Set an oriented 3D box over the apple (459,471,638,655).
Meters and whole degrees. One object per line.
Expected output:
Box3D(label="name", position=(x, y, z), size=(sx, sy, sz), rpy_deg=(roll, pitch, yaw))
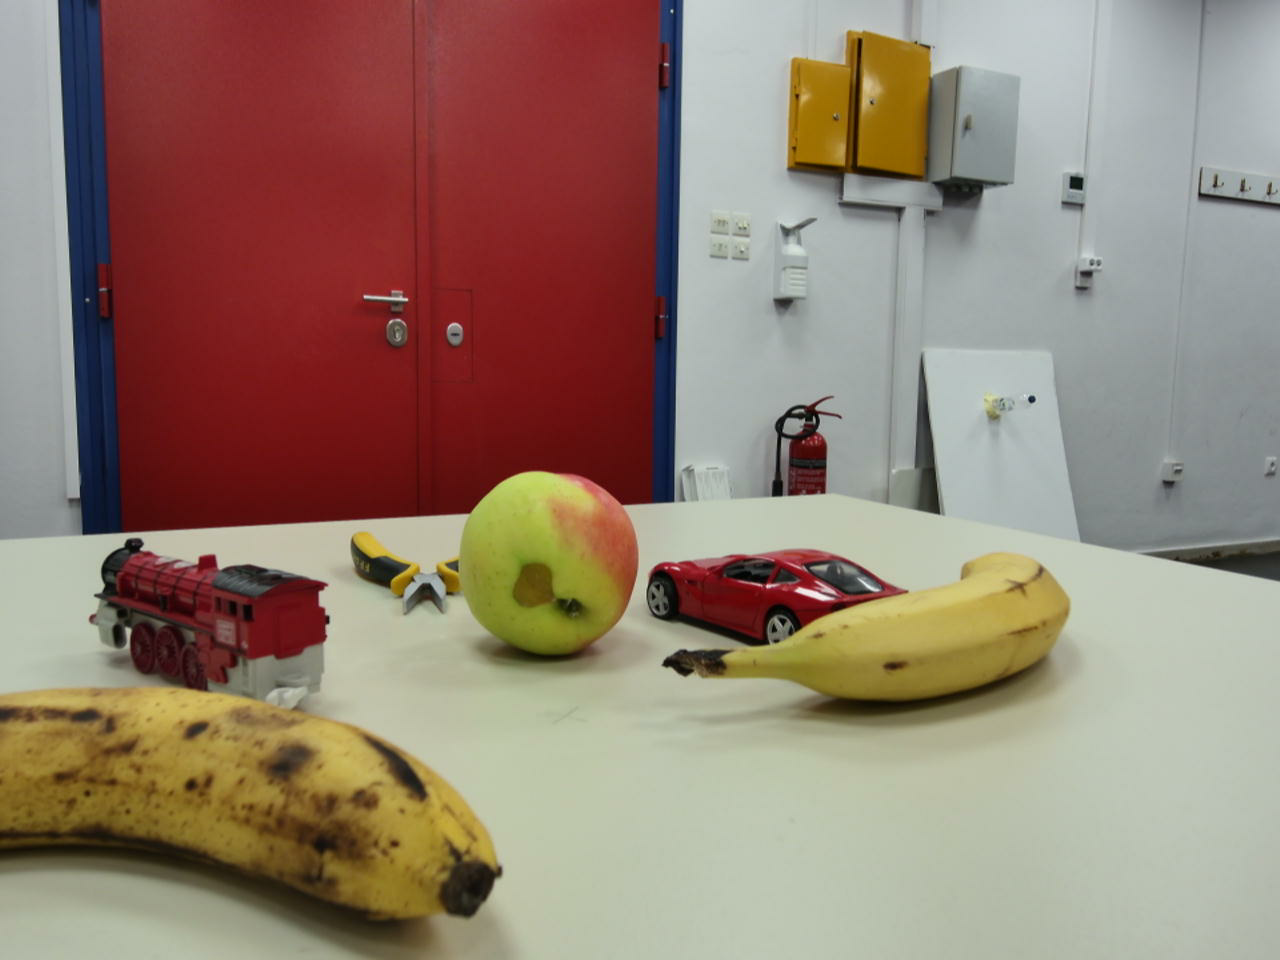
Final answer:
Box3D(label="apple", position=(-0.037, 0.034, 0.419), size=(0.075, 0.074, 0.075), rpy_deg=(4, 6, 44))
